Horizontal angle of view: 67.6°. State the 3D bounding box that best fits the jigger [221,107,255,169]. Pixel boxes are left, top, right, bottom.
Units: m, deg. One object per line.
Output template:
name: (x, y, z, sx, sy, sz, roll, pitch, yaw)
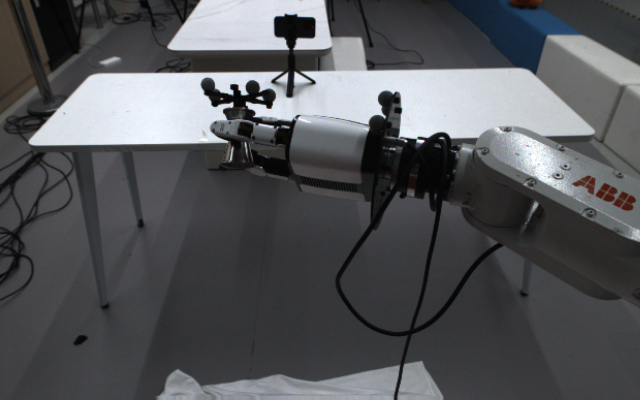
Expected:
jigger: (-0.104, -0.077, 0.597, 0.043, 0.071, 0.043, 0, -5, 0)
